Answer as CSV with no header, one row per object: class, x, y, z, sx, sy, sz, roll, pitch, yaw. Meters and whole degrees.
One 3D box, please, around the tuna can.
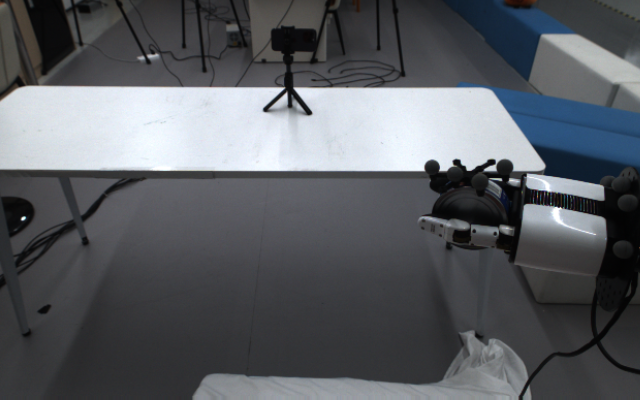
tuna can,0.180,0.012,0.572,0.085,0.085,0.034,17,37,20
